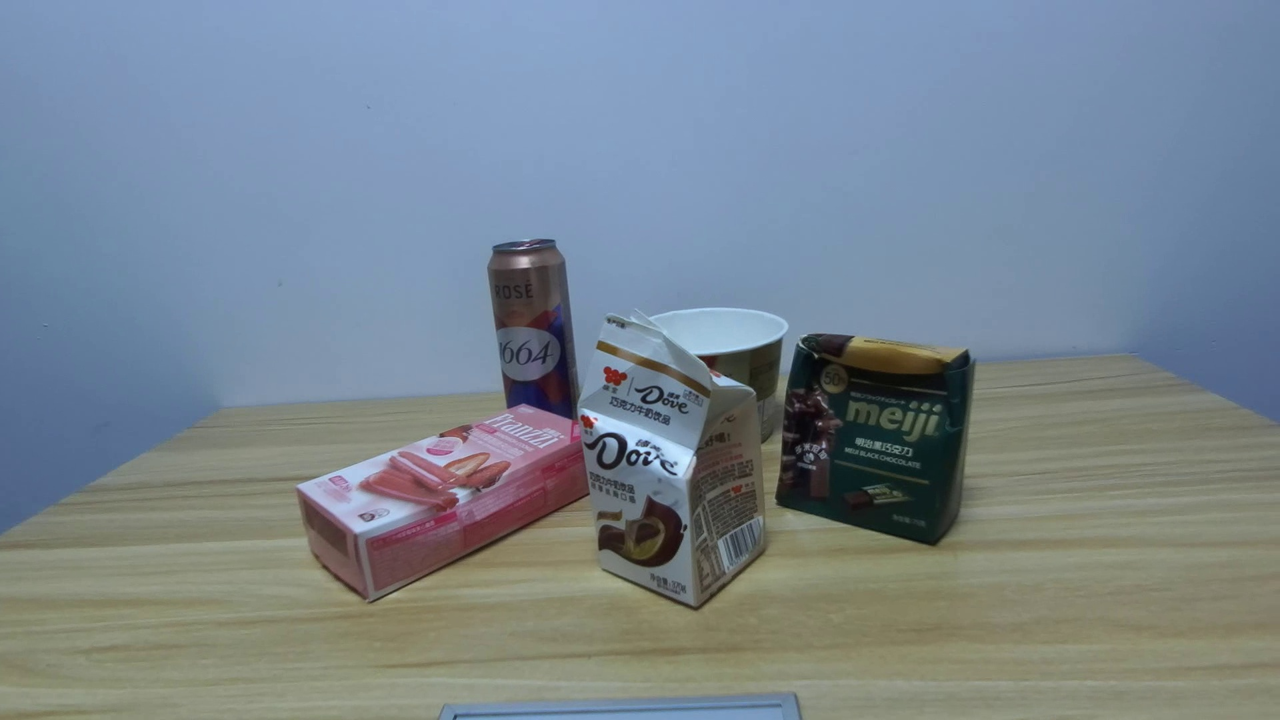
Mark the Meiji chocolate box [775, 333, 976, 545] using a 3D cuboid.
[{"bbox_3d":[0.149,0.044,0.452,0.117,0.117,0.052,9,15,36],"label":"Meiji chocolate box"}]

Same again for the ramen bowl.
[{"bbox_3d":[0.056,0.018,0.592,0.140,0.095,0.140,-5,18,2],"label":"ramen bowl"}]

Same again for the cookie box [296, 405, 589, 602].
[{"bbox_3d":[-0.124,0.090,0.492,0.188,0.049,0.104,-20,22,-39],"label":"cookie box"}]

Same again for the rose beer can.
[{"bbox_3d":[-0.092,-0.018,0.630,0.068,0.169,0.068,-4,18,2],"label":"rose beer can"}]

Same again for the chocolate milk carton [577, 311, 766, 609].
[{"bbox_3d":[0.019,0.048,0.400,0.076,0.155,0.074,11,26,40],"label":"chocolate milk carton"}]
